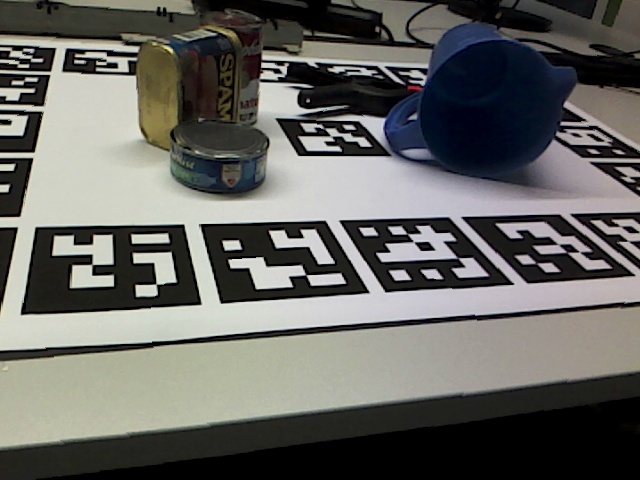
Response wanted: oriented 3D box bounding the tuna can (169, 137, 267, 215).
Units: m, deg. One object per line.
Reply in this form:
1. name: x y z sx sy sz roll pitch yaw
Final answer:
1. tuna can: -0.091 -0.058 0.551 0.085 0.033 0.086 7 34 -5

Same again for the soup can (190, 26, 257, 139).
1. soup can: -0.104 -0.168 0.662 0.068 0.102 0.068 5 35 -4

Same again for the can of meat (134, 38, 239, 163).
1. can of meat: -0.127 -0.132 0.590 0.058 0.101 0.083 29 40 26

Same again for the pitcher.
1. pitcher: 0.168 -0.167 0.695 0.189 0.133 0.243 -10 23 10

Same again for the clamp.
1. clamp: 0.020 -0.172 0.779 0.164 0.036 0.122 1 29 -19
